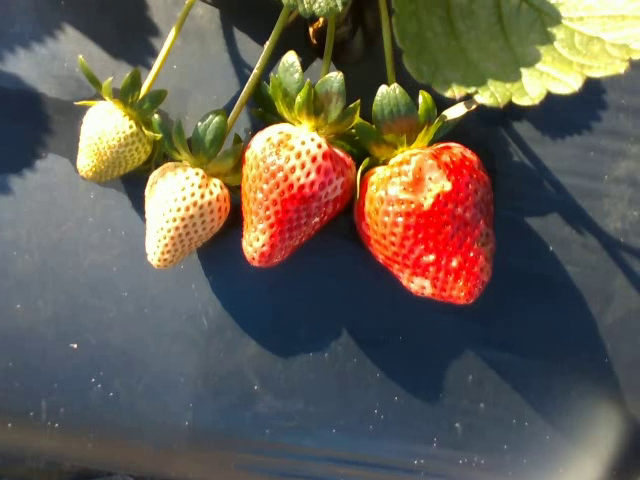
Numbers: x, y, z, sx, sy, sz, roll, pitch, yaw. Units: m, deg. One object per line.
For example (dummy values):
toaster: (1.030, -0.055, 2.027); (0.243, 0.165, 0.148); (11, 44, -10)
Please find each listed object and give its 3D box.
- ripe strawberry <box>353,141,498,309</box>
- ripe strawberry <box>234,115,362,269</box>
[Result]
ripe strawberry: (0.041, -0.003, 0.207); (0.056, 0.067, 0.051); (-31, -23, 26)
ripe strawberry: (-0.011, -0.015, 0.208); (0.050, 0.061, 0.043); (29, -9, -21)
